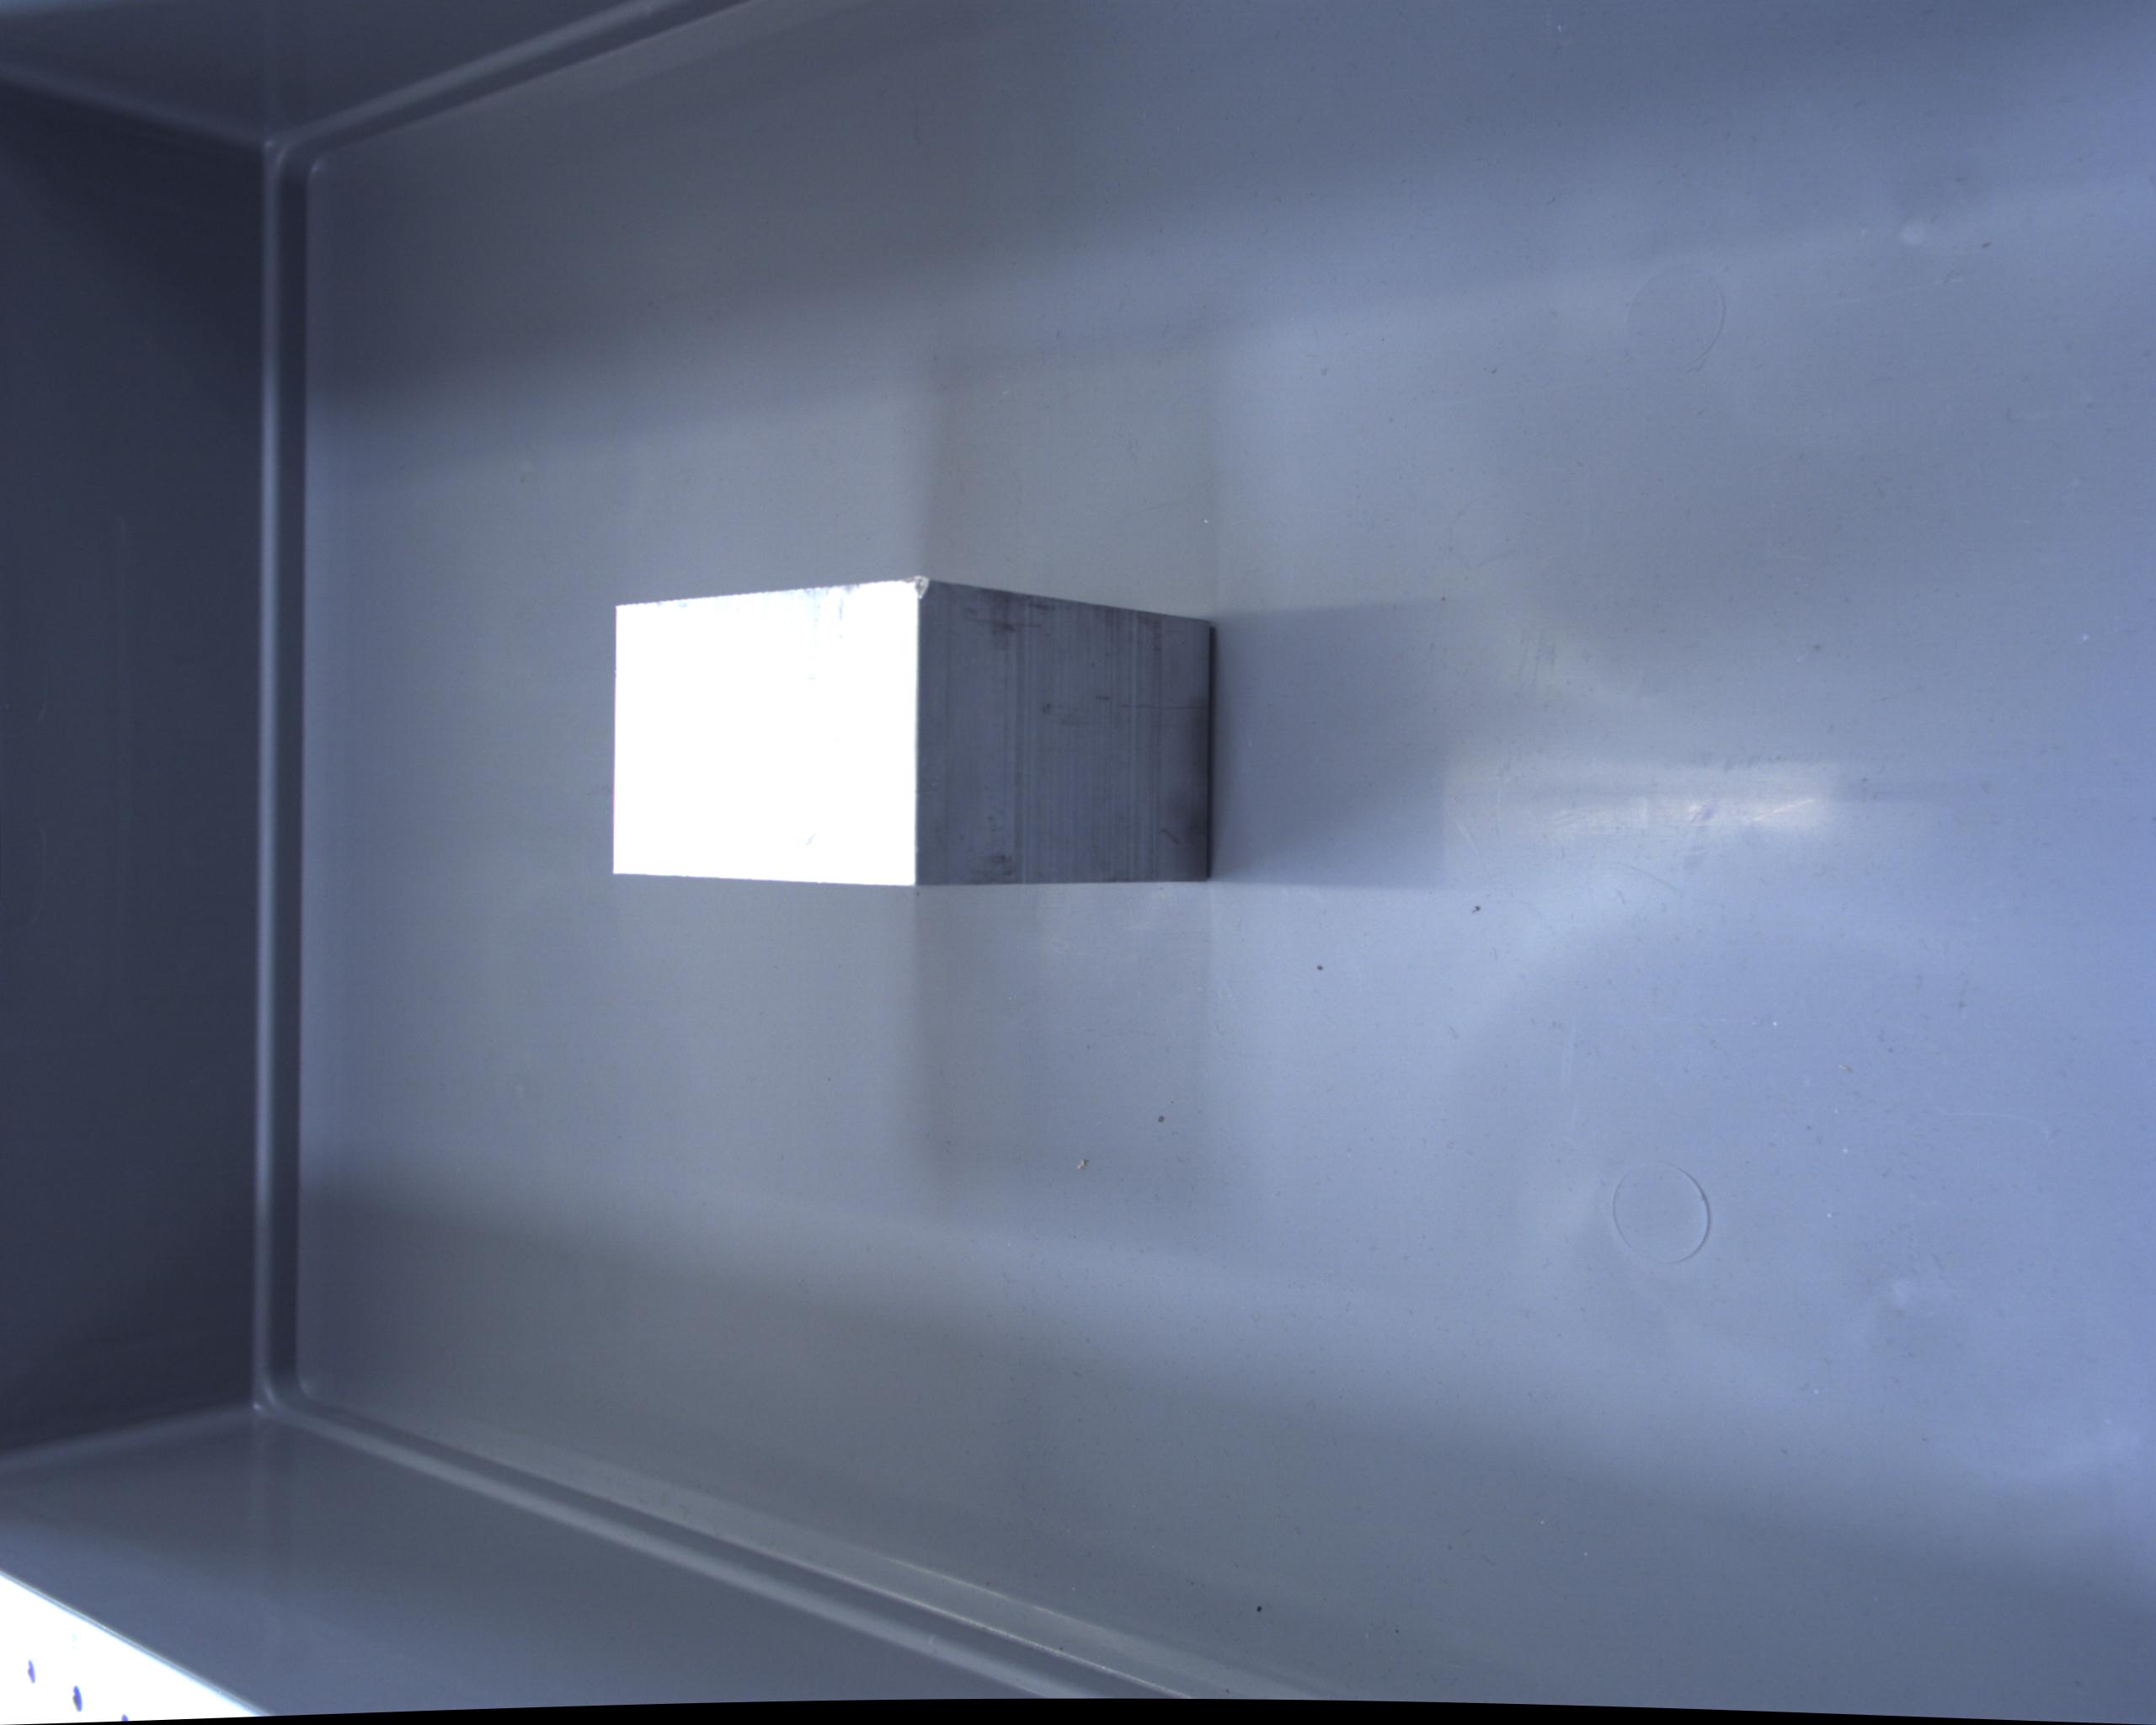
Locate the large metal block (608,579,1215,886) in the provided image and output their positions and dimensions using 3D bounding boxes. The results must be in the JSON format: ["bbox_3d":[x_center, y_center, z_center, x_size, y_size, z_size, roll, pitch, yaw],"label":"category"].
[{"bbox_3d":[-0.031,-0.022,0.395,0.080,0.081,0.050,2,91,40],"label":"large metal block"}]
